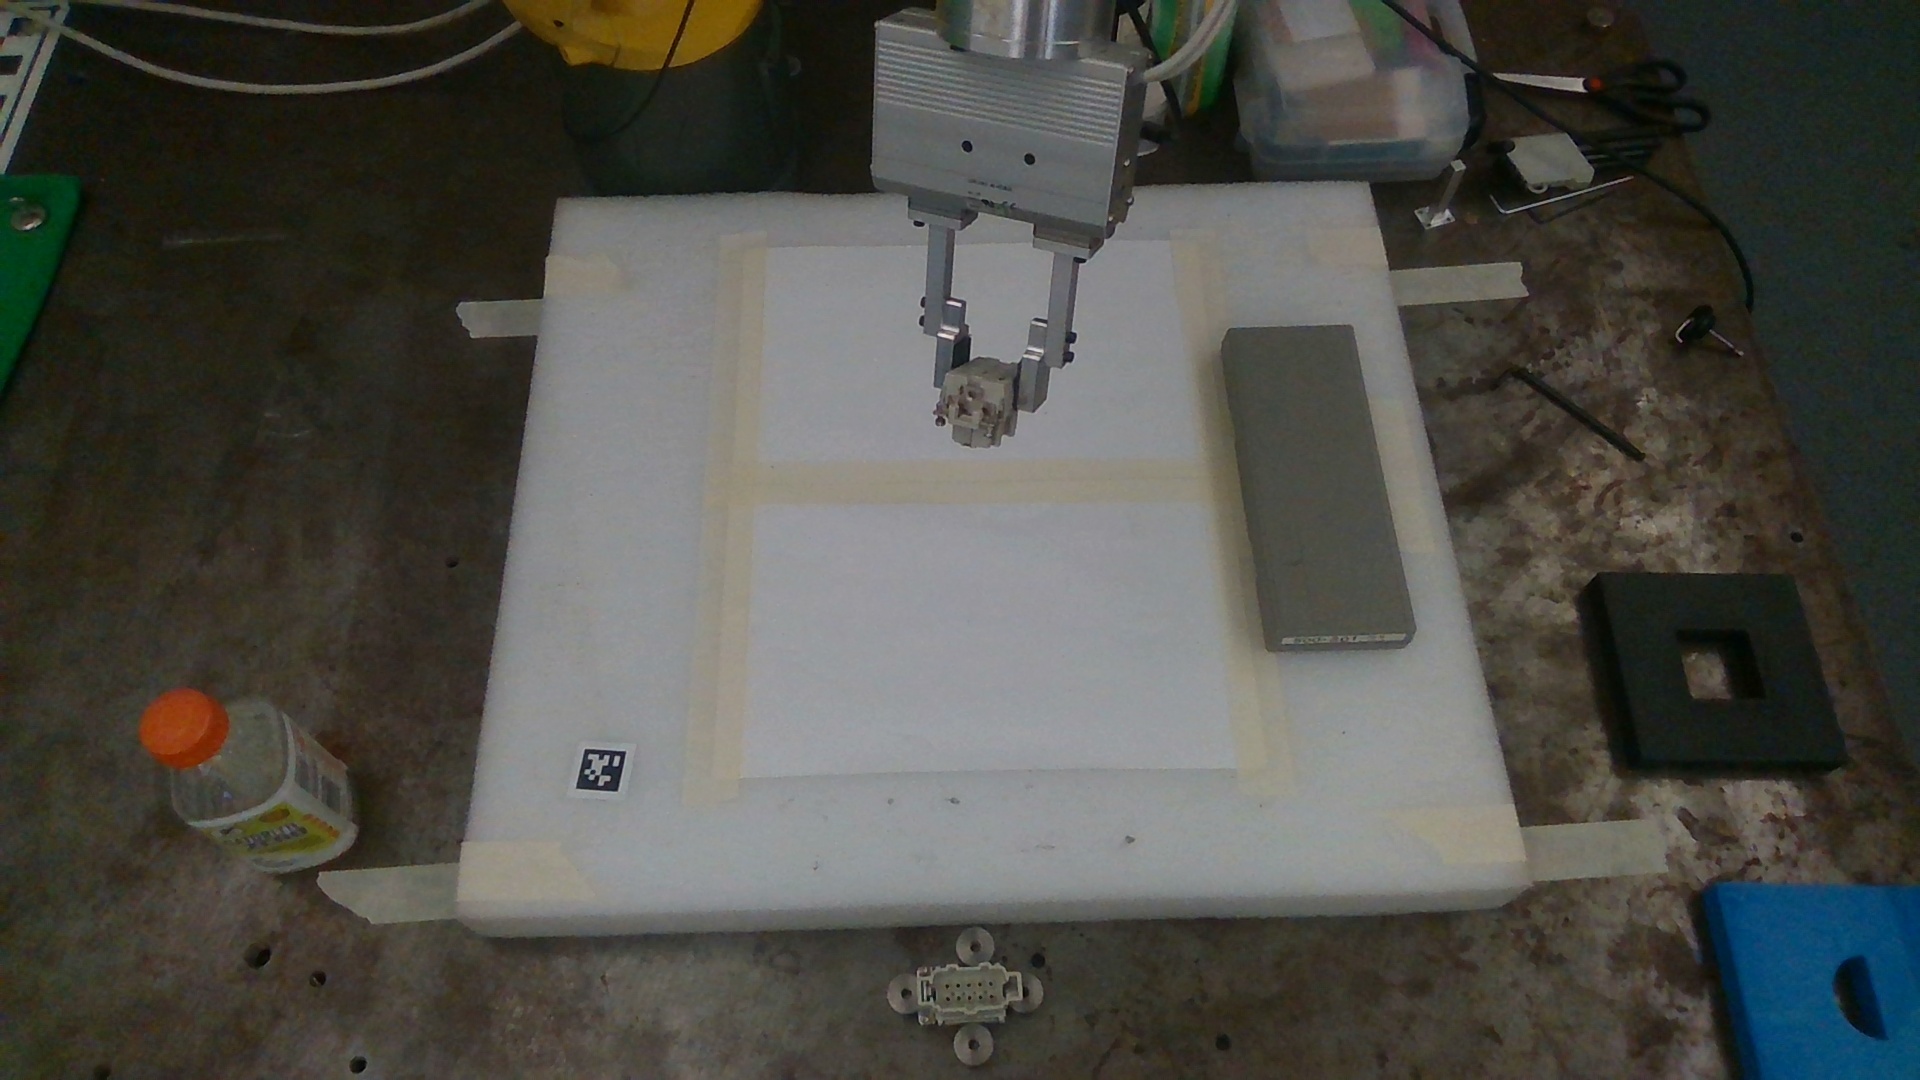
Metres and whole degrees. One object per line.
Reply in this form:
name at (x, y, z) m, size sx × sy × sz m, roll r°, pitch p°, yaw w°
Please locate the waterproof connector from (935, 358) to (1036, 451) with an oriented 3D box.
waterproof connector at (0.014, -0.069, 0.711) m, size 0.037 × 0.038 × 0.069 m, roll 14°, pitch 19°, yaw 15°
